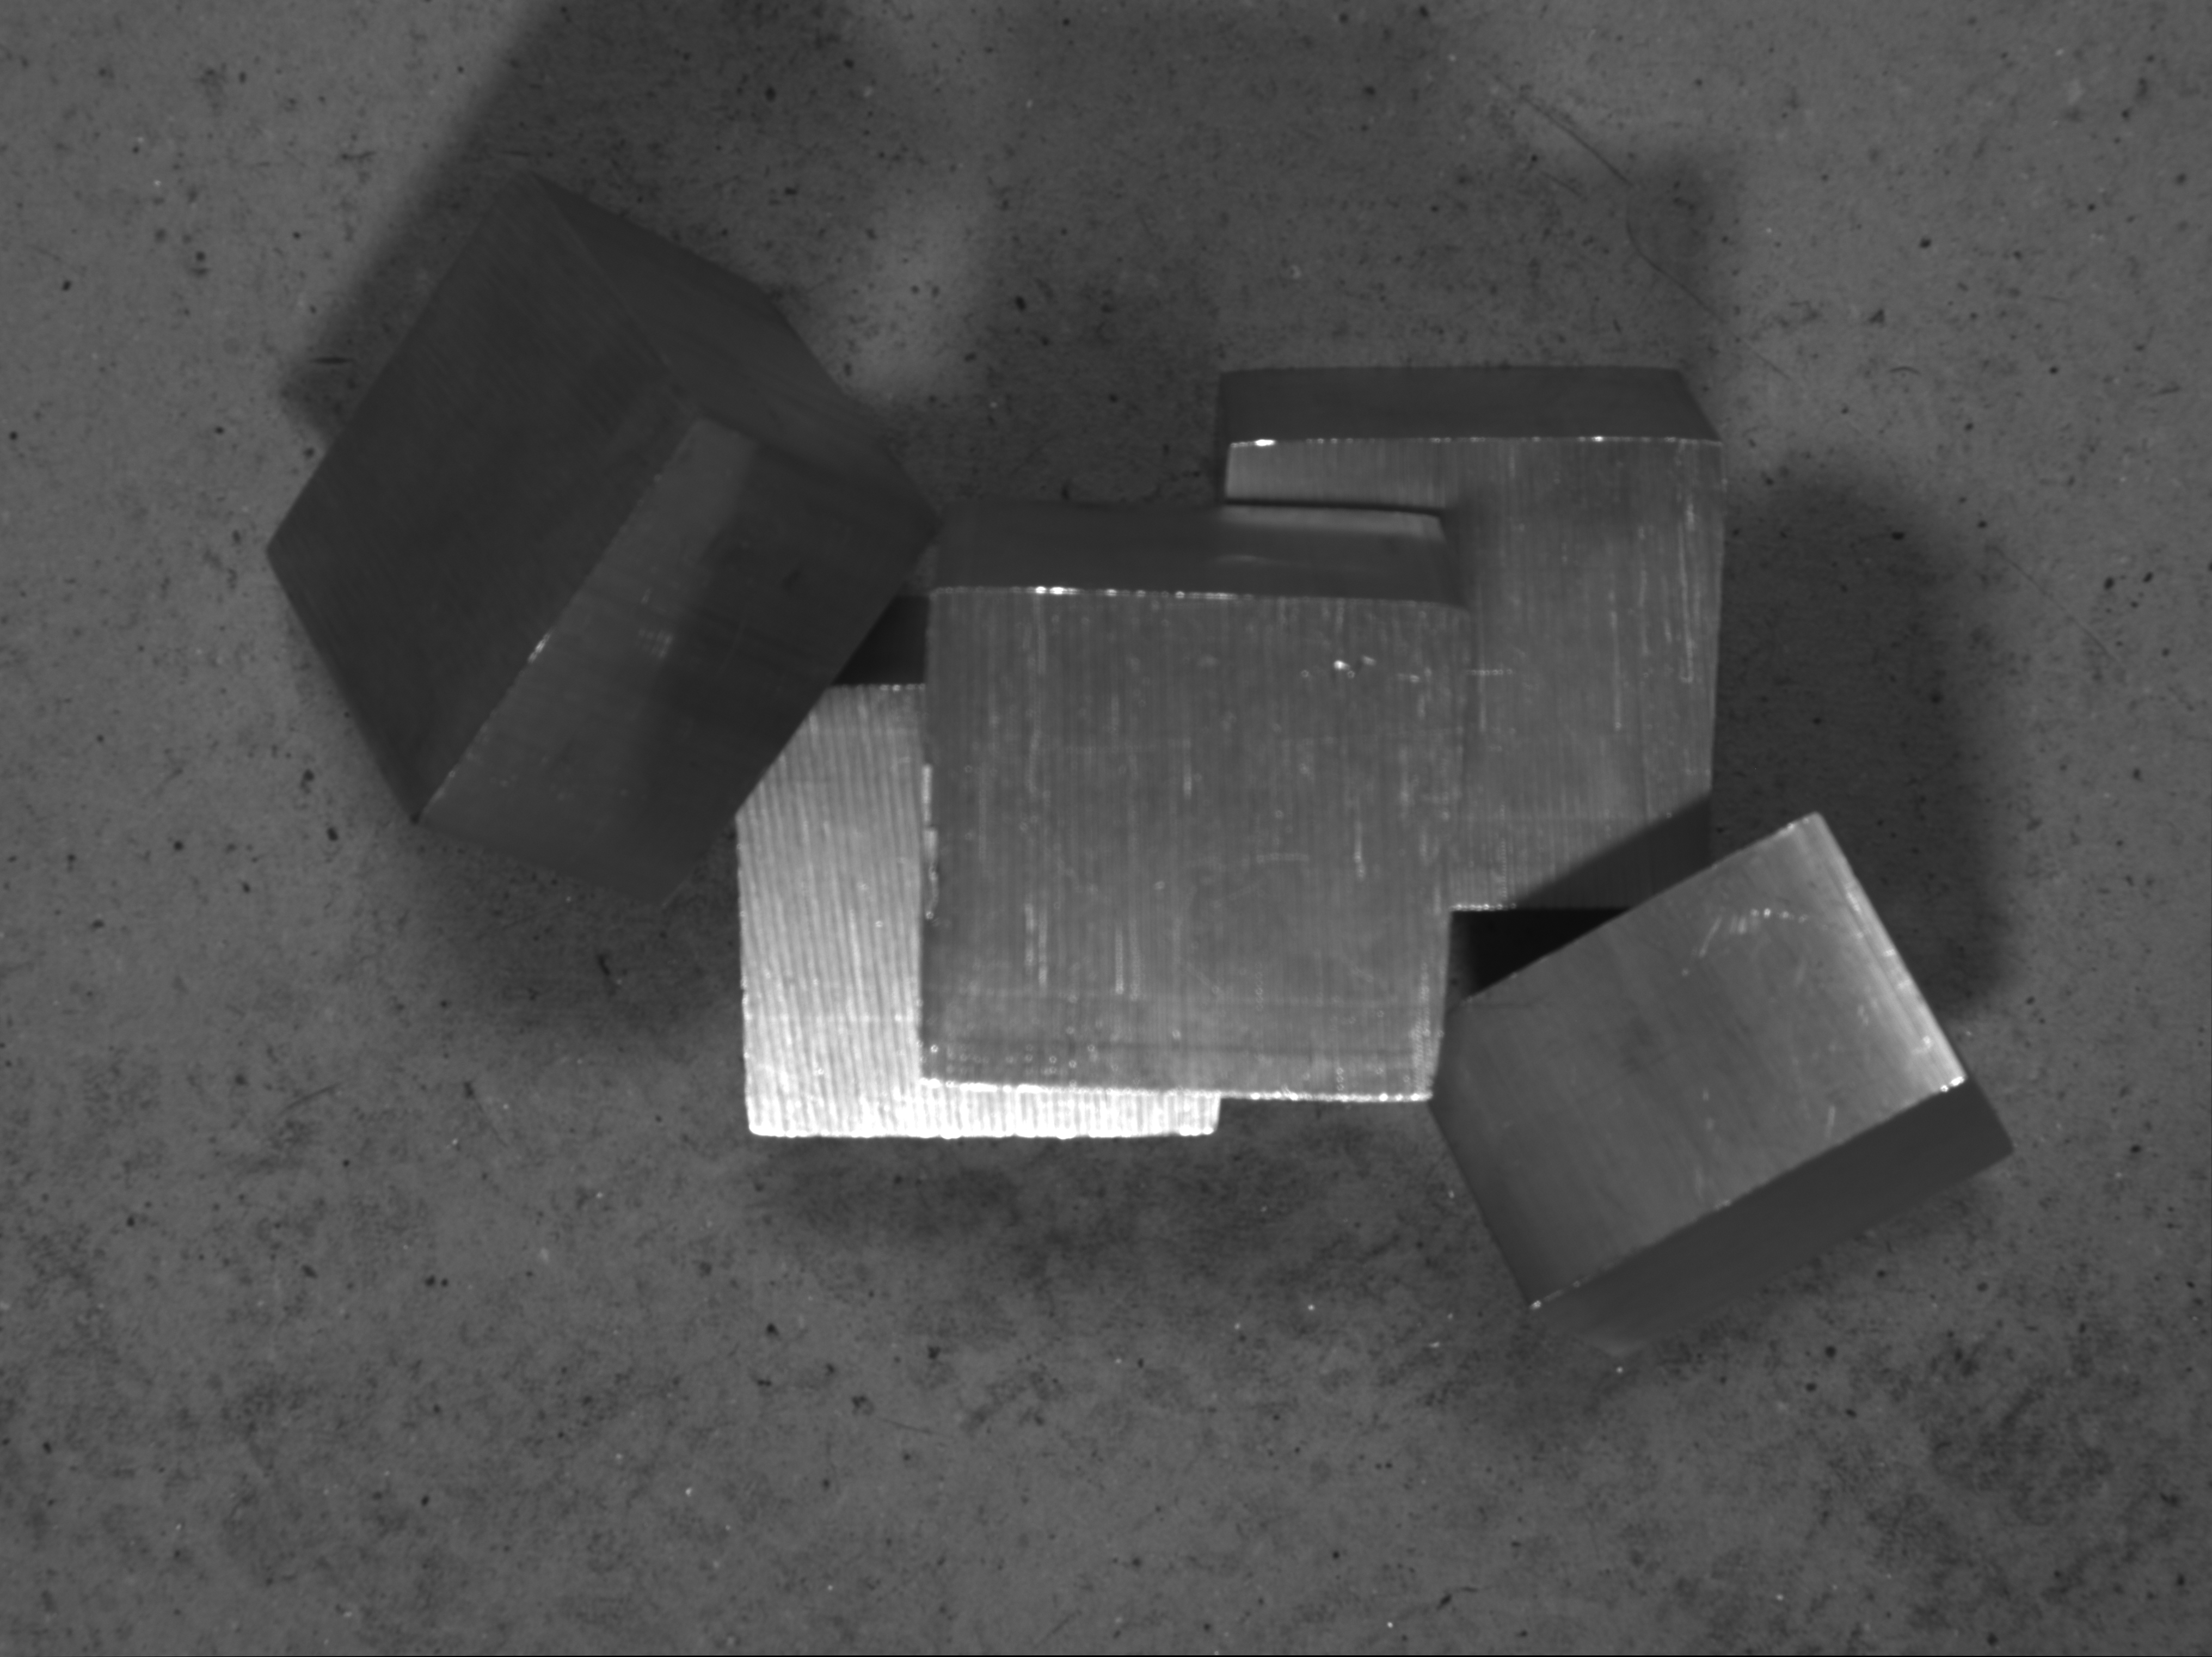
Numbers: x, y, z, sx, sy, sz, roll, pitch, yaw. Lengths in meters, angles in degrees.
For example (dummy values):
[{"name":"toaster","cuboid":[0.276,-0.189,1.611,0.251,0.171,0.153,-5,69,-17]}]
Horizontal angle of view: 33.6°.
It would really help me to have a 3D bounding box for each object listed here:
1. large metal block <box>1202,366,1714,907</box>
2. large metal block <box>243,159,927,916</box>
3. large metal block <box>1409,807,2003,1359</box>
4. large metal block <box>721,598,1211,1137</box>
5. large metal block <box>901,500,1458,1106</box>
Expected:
[{"name":"large metal block","cuboid":[0.056,-0.033,0.619,0.080,0.050,0.080,0,110,-1]},{"name":"large metal block","cuboid":[-0.085,-0.047,0.589,0.050,0.080,0.080,22,112,-43]},{"name":"large metal block","cuboid":[0.102,0.046,0.625,0.080,0.080,0.050,-30,69,10]},{"name":"large metal block","cuboid":[-0.023,0.006,0.630,0.080,0.050,0.080,0,110,-1]},{"name":"large metal block","cuboid":[0.010,-0.005,0.573,0.080,0.050,0.080,2,110,-1]}]
